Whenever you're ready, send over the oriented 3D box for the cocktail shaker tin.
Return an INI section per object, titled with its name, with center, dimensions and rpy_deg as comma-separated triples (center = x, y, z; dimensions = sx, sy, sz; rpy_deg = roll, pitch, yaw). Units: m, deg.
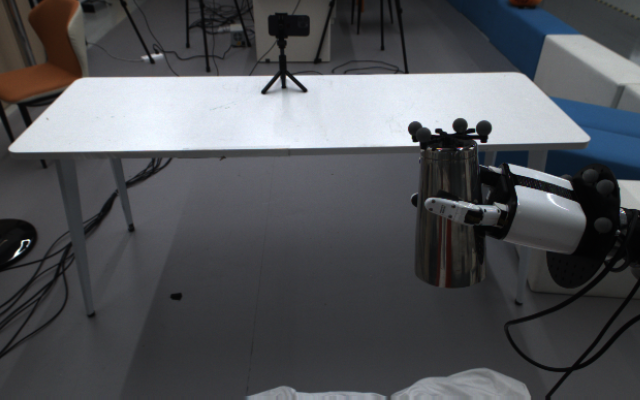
[cocktail shaker tin]
center = 0.163, 0.012, 0.606
dimensions = 0.093, 0.170, 0.093
rpy_deg = -6, 19, 2
